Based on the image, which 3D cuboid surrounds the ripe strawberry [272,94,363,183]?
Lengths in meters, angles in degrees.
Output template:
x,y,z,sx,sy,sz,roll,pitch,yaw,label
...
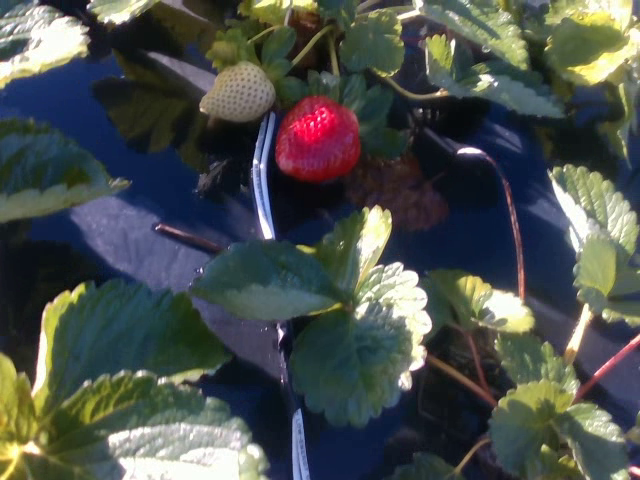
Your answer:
x,y,z,sx,sy,sz,roll,pitch,yaw,label
0.003,-0.058,0.337,0.040,0.063,0.080,-22,14,39,ripe strawberry
